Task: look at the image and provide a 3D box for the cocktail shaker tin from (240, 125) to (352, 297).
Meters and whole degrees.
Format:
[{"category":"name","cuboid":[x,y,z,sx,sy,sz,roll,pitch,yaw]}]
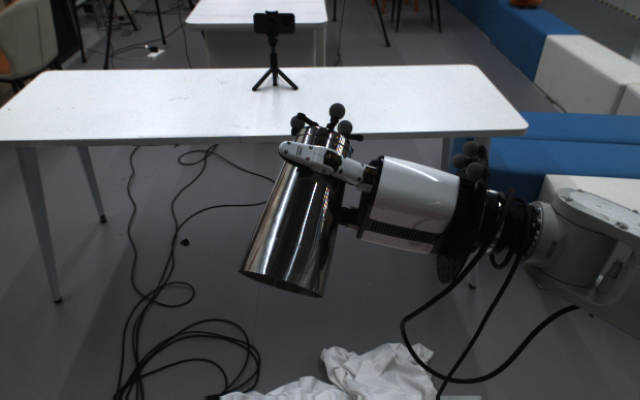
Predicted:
[{"category":"cocktail shaker tin","cuboid":[-0.016,0.009,0.527,0.093,0.093,0.170,12,72,14]}]
